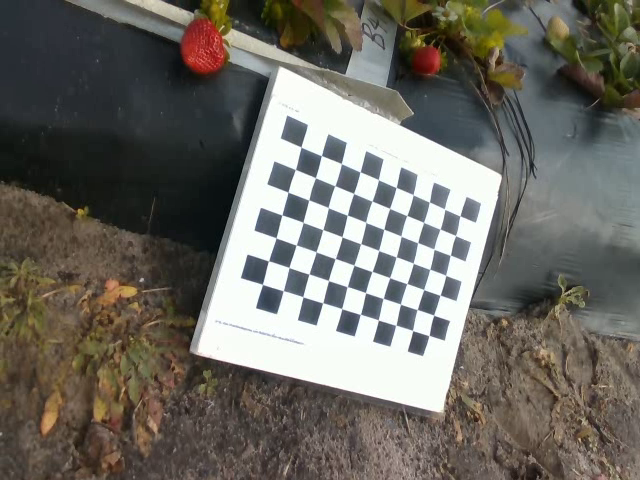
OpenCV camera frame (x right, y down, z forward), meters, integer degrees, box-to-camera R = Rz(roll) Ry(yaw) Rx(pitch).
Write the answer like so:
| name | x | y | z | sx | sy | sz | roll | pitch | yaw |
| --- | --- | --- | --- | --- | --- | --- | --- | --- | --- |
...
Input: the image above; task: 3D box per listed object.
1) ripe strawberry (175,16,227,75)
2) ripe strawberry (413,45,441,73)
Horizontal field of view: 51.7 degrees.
| name | x | y | z | sx | sy | sz | roll | pitch | yaw |
| --- | --- | --- | --- | --- | --- | --- | --- | --- | --- |
| ripe strawberry | -0.092 | -0.151 | 0.525 | 0.030 | 0.048 | 0.053 | -15 | 22 | 39 |
| ripe strawberry | 0.116 | -0.186 | 0.688 | 0.037 | 0.031 | 0.048 | 35 | 22 | -24 |
